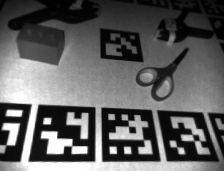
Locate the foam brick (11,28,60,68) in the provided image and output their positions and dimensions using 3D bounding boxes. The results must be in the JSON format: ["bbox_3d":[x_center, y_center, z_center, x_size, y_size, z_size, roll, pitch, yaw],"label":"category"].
[{"bbox_3d":[-0.152,-0.075,0.439,0.078,0.051,0.052,8,58,-2],"label":"foam brick"}]

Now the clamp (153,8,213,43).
[{"bbox_3d":[0.181,-0.156,0.578,0.166,0.036,0.121,-22,72,-23],"label":"clamp"}]

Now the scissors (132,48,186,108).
[{"bbox_3d":[0.123,-0.036,0.492,0.087,0.016,0.204,41,57,5],"label":"scissors"}]

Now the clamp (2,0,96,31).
[{"bbox_3d":[-0.140,-0.186,0.519,0.204,0.036,0.164,1,55,-13],"label":"clamp"}]
